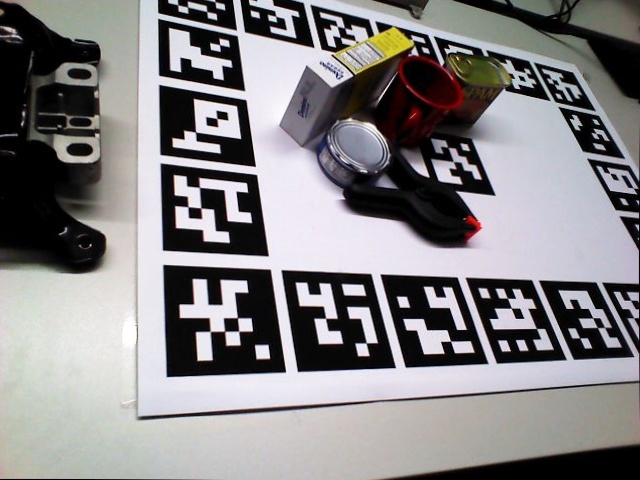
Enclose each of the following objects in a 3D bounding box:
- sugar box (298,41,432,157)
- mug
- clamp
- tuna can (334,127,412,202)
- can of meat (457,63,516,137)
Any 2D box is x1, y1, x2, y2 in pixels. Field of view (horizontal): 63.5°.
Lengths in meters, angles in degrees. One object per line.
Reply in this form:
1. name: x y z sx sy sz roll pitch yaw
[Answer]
1. sugar box: 0.057 -0.172 0.619 0.045 0.093 0.175 45 50 8
2. mug: 0.145 -0.156 0.648 0.093 0.082 0.116 25 54 -11
3. clamp: 0.138 -0.031 0.606 0.165 0.037 0.121 35 47 -7
4. tuna can: 0.060 -0.086 0.596 0.085 0.034 0.085 12 58 -19
5. can of meat: 0.224 -0.191 0.718 0.101 0.084 0.057 -5 61 -30
